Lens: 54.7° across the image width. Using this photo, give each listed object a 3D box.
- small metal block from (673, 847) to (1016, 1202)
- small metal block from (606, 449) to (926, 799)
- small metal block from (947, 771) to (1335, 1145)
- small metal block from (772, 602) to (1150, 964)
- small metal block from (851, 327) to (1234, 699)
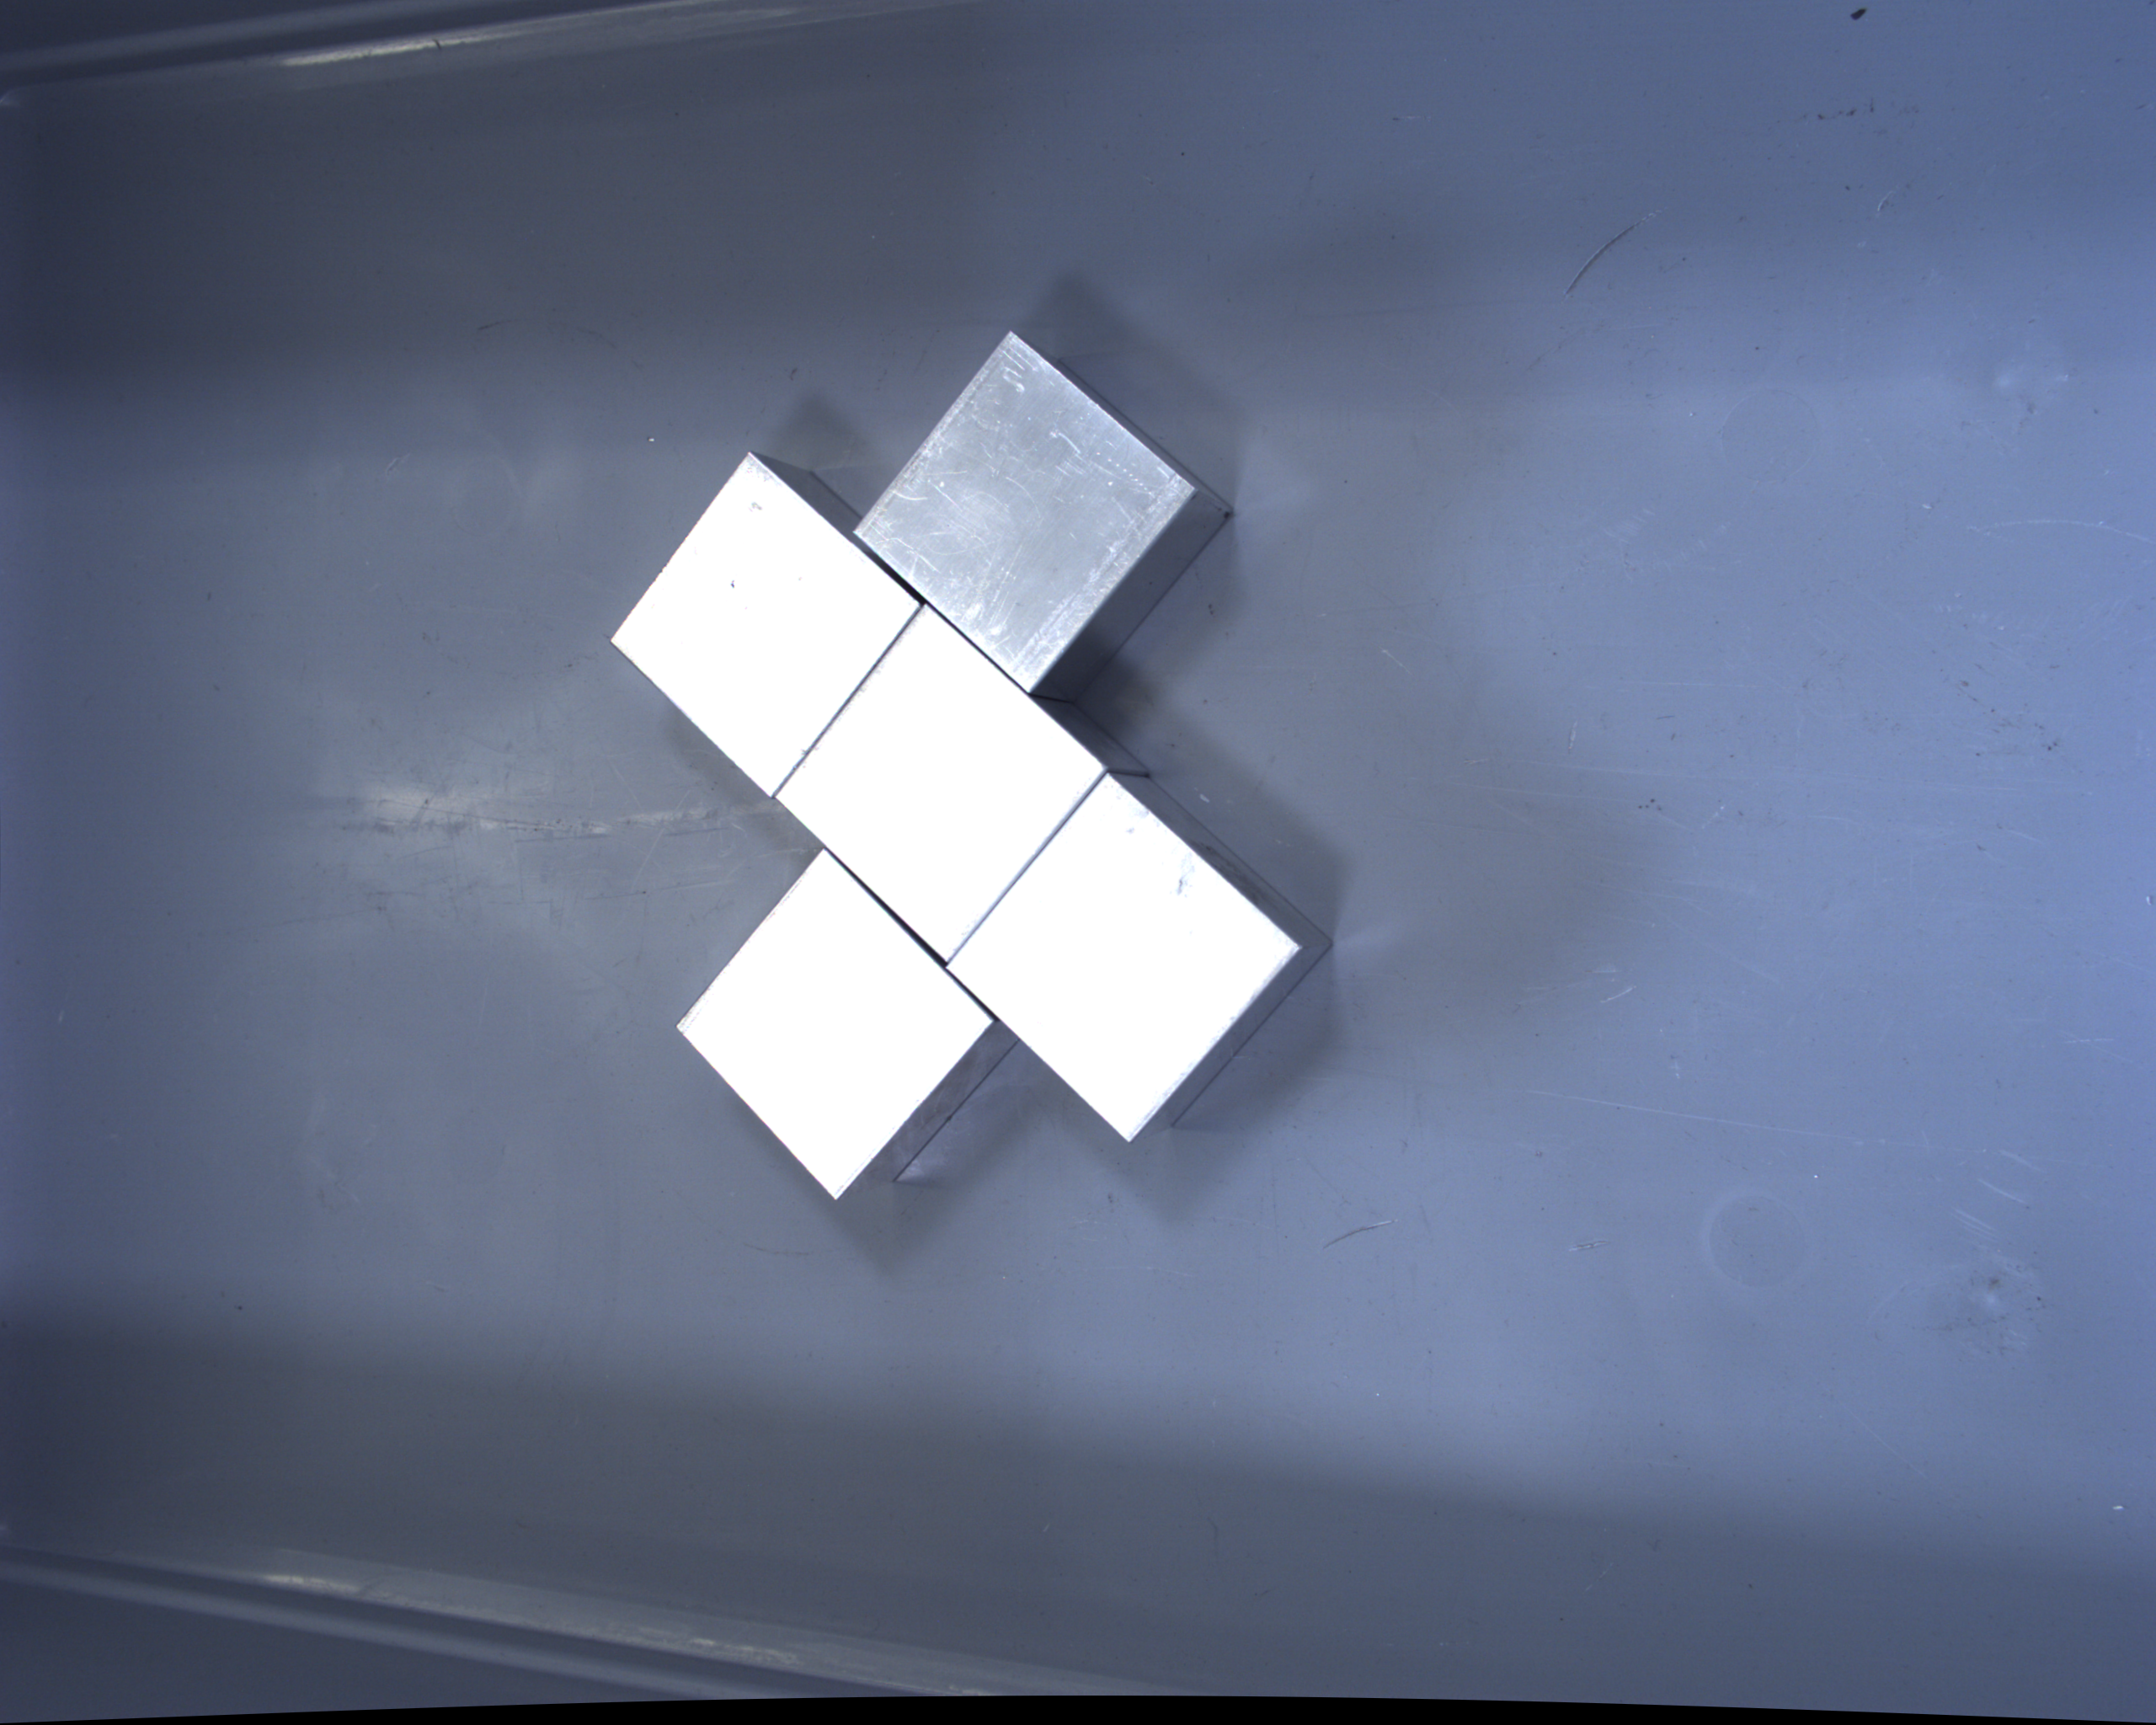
[{"bbox_3d":[-0.045,0.032,0.425,0.050,0.025,0.050,45,104,14],"label":"small metal block"},{"bbox_3d":[-0.060,-0.048,0.429,0.050,0.025,0.050,43,103,15],"label":"small metal block"},{"bbox_3d":[0.012,0.018,0.404,0.050,0.025,0.050,43,103,15],"label":"small metal block"},{"bbox_3d":[-0.023,-0.015,0.416,0.050,0.025,0.050,43,103,15],"label":"small metal block"},{"bbox_3d":[-0.007,-0.067,0.410,0.050,0.025,0.050,43,102,14],"label":"small metal block"}]
